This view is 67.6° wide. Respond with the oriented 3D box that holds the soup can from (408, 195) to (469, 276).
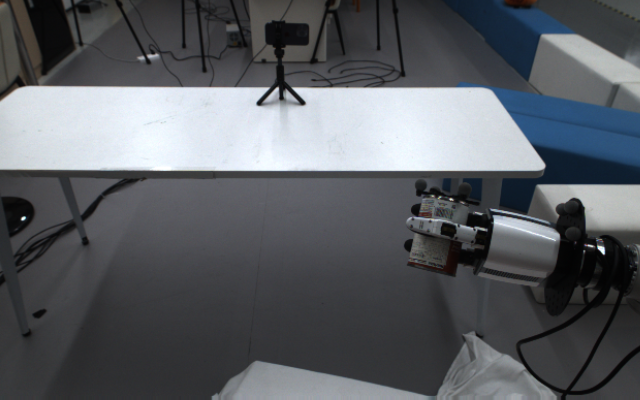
[{"bbox_3d":[0.167,0.050,0.677,0.067,0.101,0.067,14,-6,1],"label":"soup can"}]
